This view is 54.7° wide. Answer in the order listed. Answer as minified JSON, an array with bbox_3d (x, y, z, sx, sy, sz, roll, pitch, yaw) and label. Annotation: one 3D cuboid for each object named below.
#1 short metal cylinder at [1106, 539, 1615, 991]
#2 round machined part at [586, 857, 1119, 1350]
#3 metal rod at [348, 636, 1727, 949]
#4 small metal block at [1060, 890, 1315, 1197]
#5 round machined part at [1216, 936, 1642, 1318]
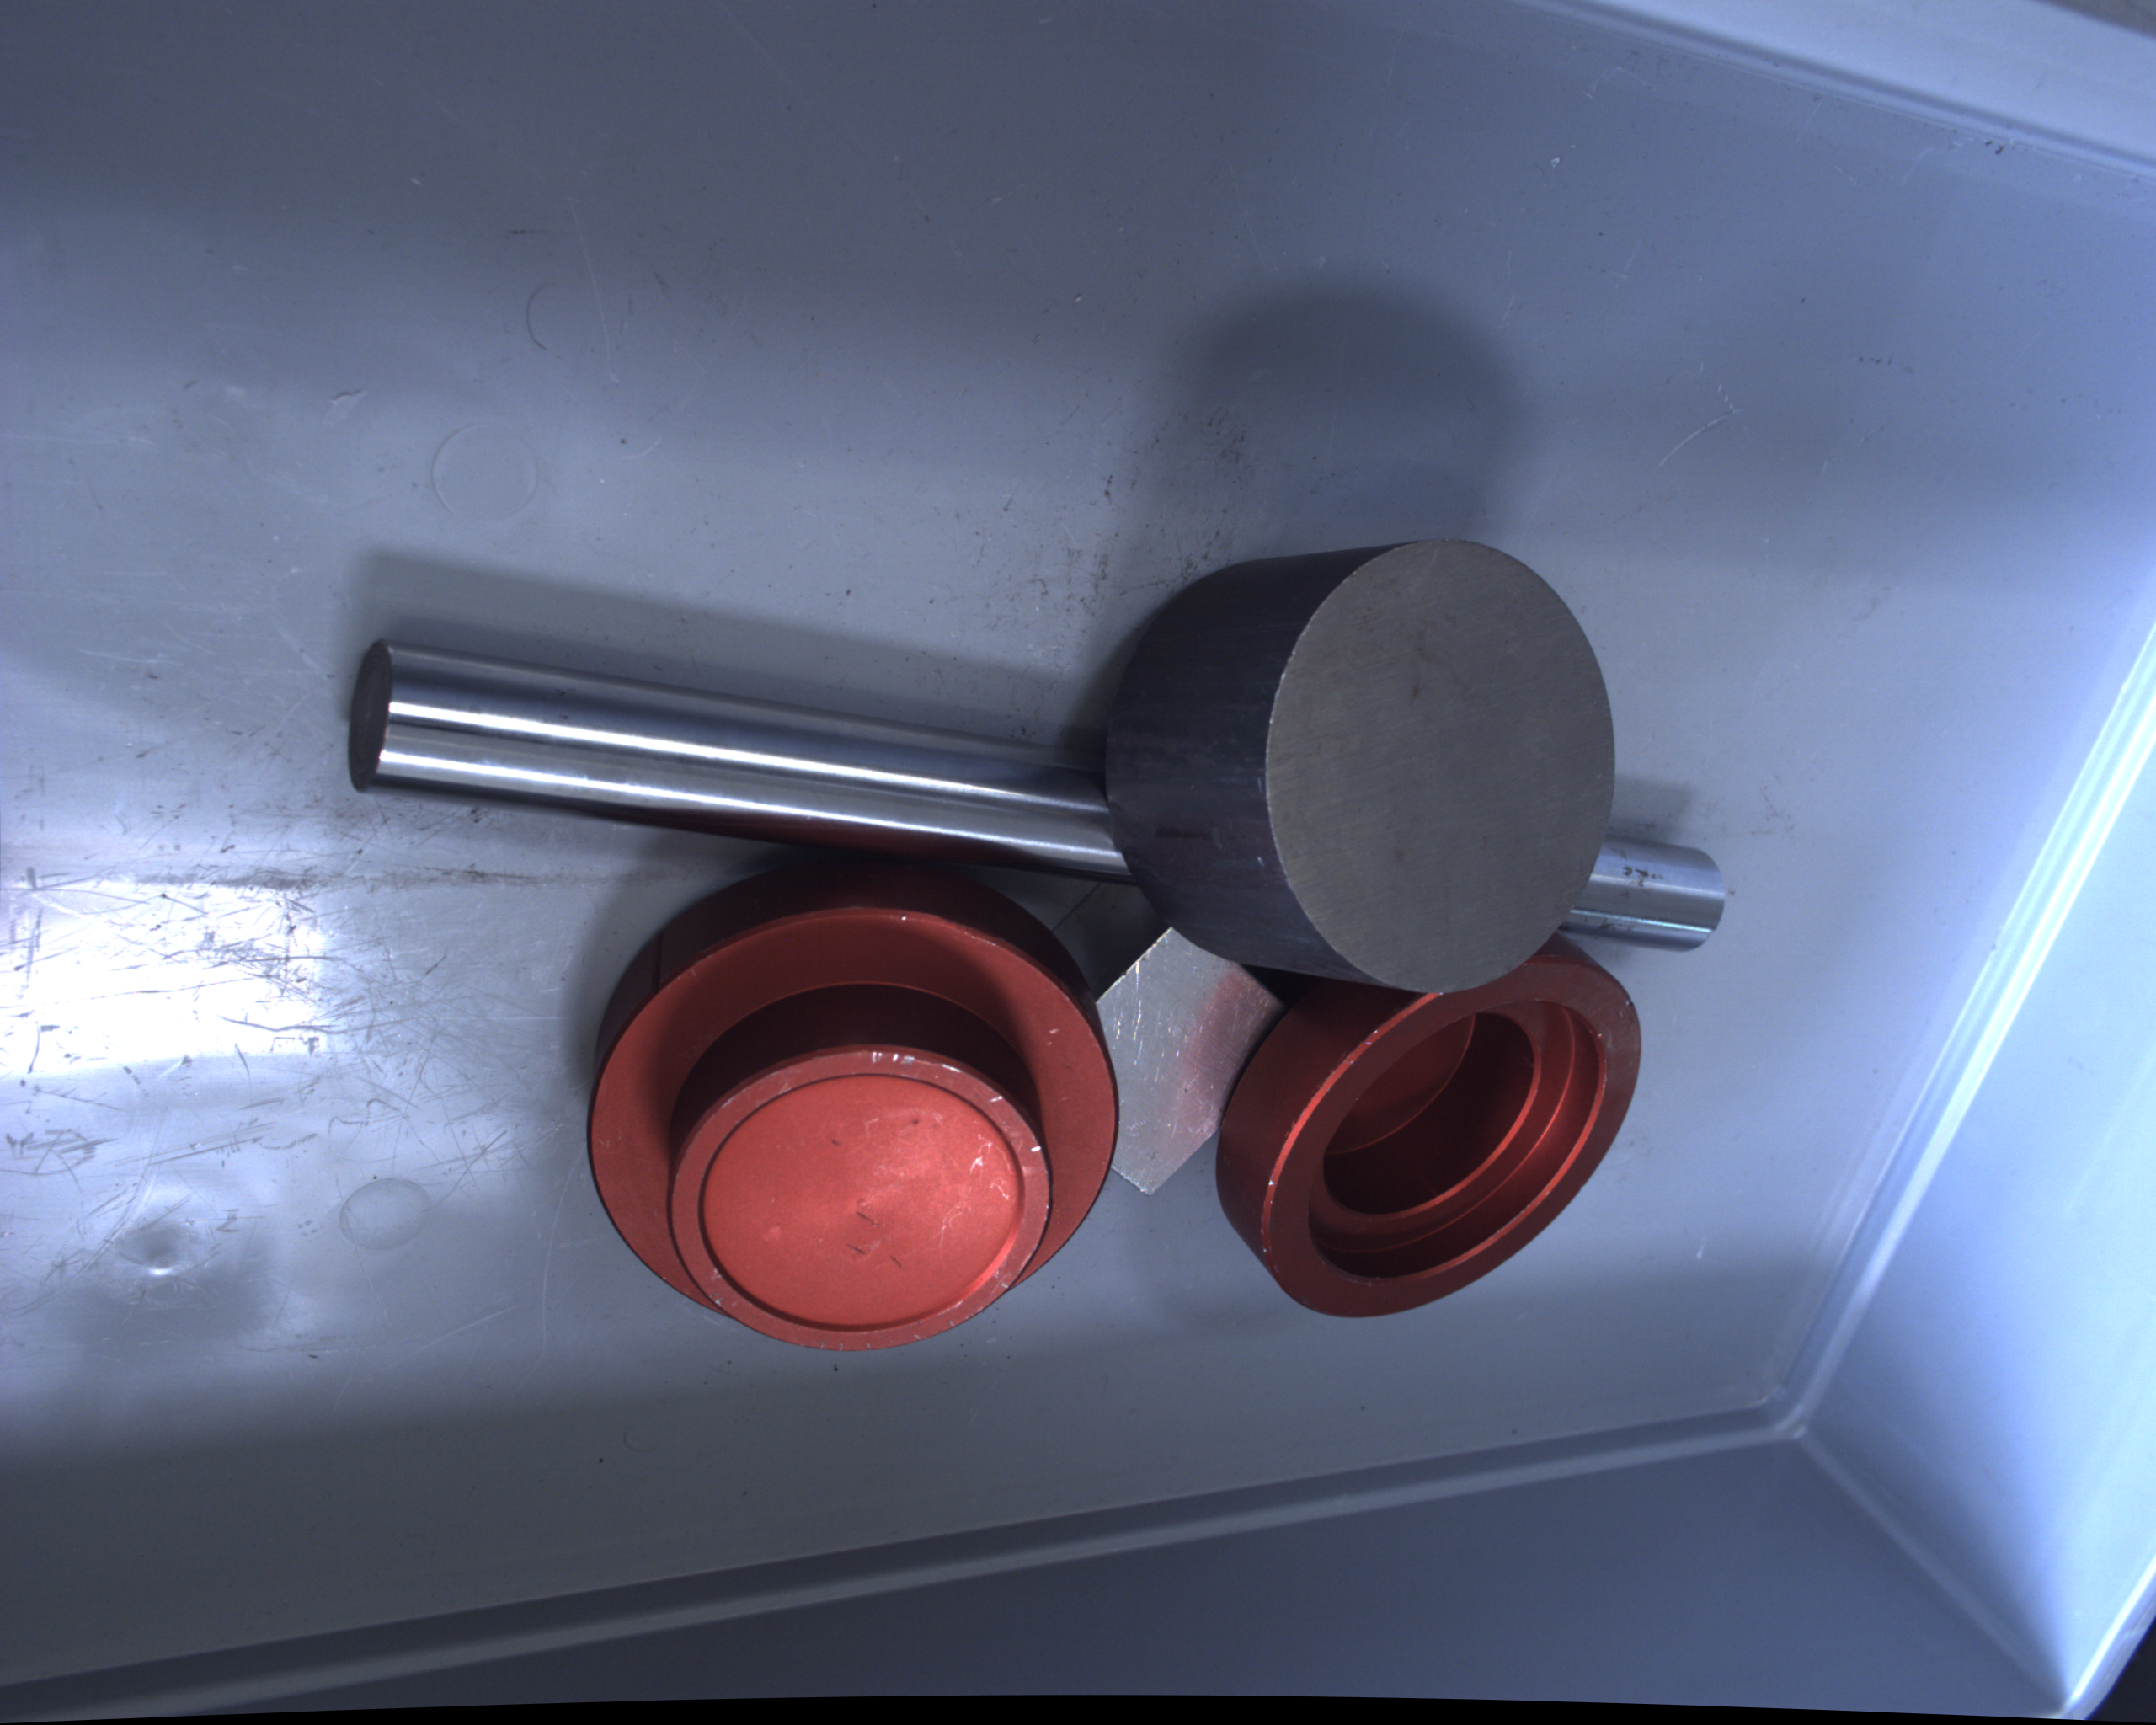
[{"bbox_3d":[0.053,-0.018,0.389,0.081,0.050,0.079,-2,94,-32],"label":"short metal cylinder"},{"bbox_3d":[-0.041,0.051,0.388,0.099,0.042,0.097,-4,118,-6],"label":"round machined part"},{"bbox_3d":[0.015,-0.008,0.410,0.302,0.025,0.025,7,115,-32],"label":"metal rod"},{"bbox_3d":[0.013,0.034,0.435,0.050,0.025,0.050,-45,129,3],"label":"small metal block"},{"bbox_3d":[0.073,0.050,0.464,0.099,0.042,0.097,-17,128,-22],"label":"round machined part"}]
